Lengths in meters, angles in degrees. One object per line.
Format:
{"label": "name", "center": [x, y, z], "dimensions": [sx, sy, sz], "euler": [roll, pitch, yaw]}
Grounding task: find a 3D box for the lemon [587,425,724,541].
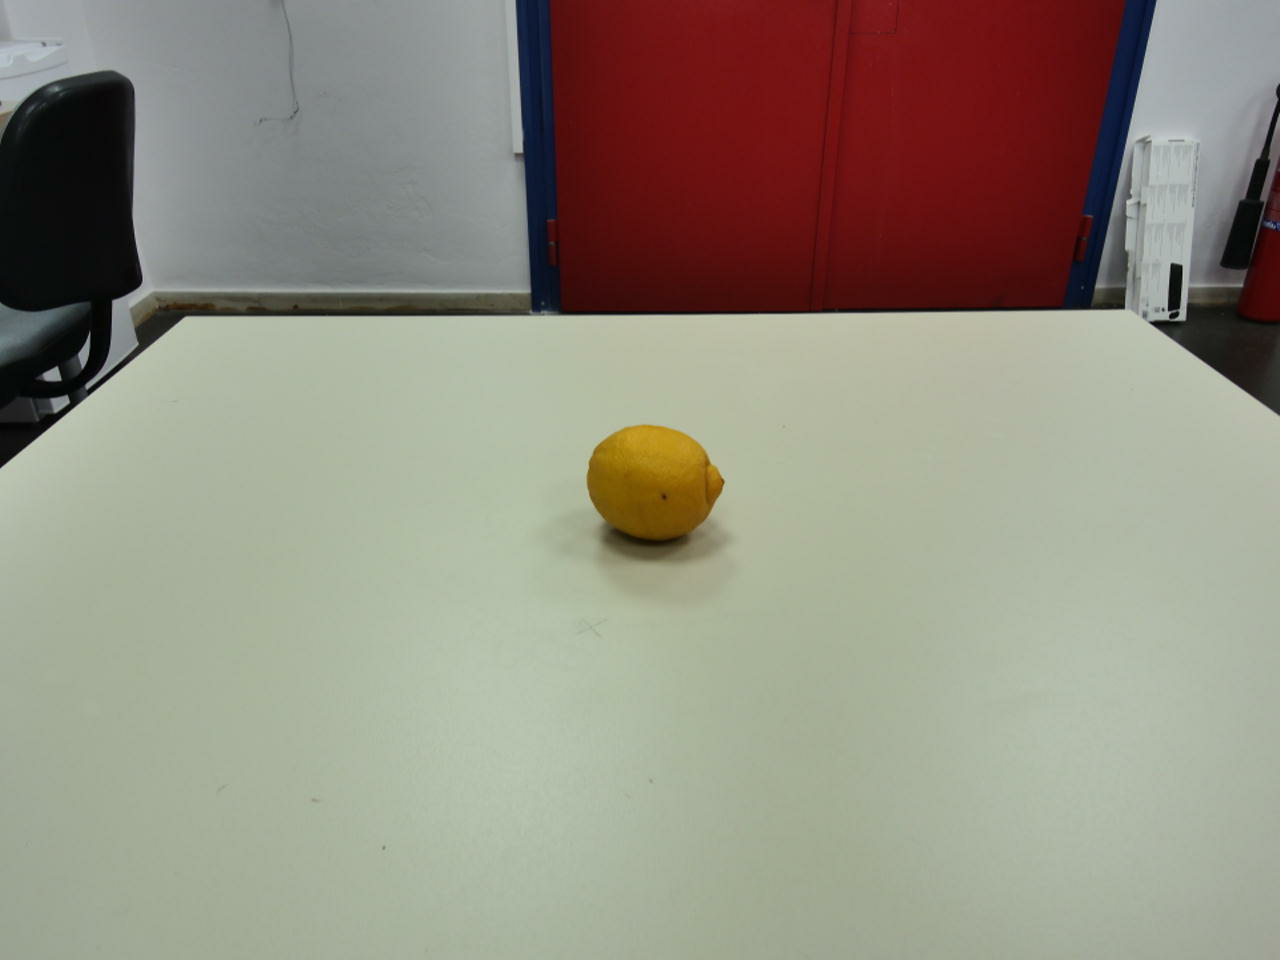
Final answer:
{"label": "lemon", "center": [0.006, 0.002, 0.525], "dimensions": [0.067, 0.059, 0.060], "euler": [19, 33, 37]}
